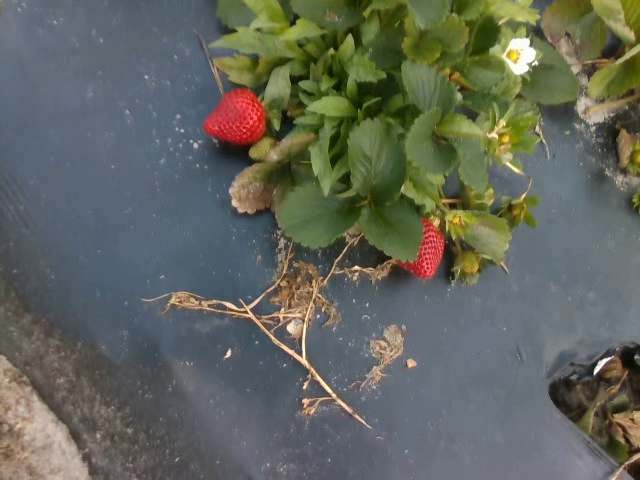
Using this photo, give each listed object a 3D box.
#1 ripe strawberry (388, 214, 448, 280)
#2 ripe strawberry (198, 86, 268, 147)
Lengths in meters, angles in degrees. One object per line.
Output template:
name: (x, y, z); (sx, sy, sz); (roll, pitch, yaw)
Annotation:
ripe strawberry: (0.071, 0.008, 0.443); (0.043, 0.046, 0.047); (-14, -30, 3)
ripe strawberry: (-0.062, -0.085, 0.434); (0.050, 0.043, 0.042); (-28, -2, -23)
